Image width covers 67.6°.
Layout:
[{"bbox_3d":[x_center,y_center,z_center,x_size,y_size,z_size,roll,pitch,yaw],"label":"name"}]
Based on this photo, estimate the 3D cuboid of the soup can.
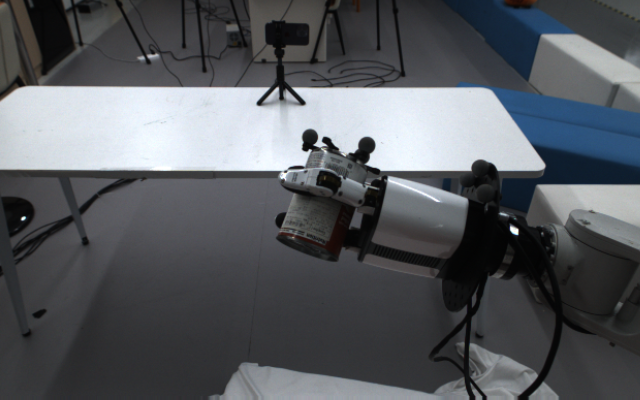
[{"bbox_3d":[0.006,0.005,0.508,0.067,0.067,0.101,15,75,18],"label":"soup can"}]
